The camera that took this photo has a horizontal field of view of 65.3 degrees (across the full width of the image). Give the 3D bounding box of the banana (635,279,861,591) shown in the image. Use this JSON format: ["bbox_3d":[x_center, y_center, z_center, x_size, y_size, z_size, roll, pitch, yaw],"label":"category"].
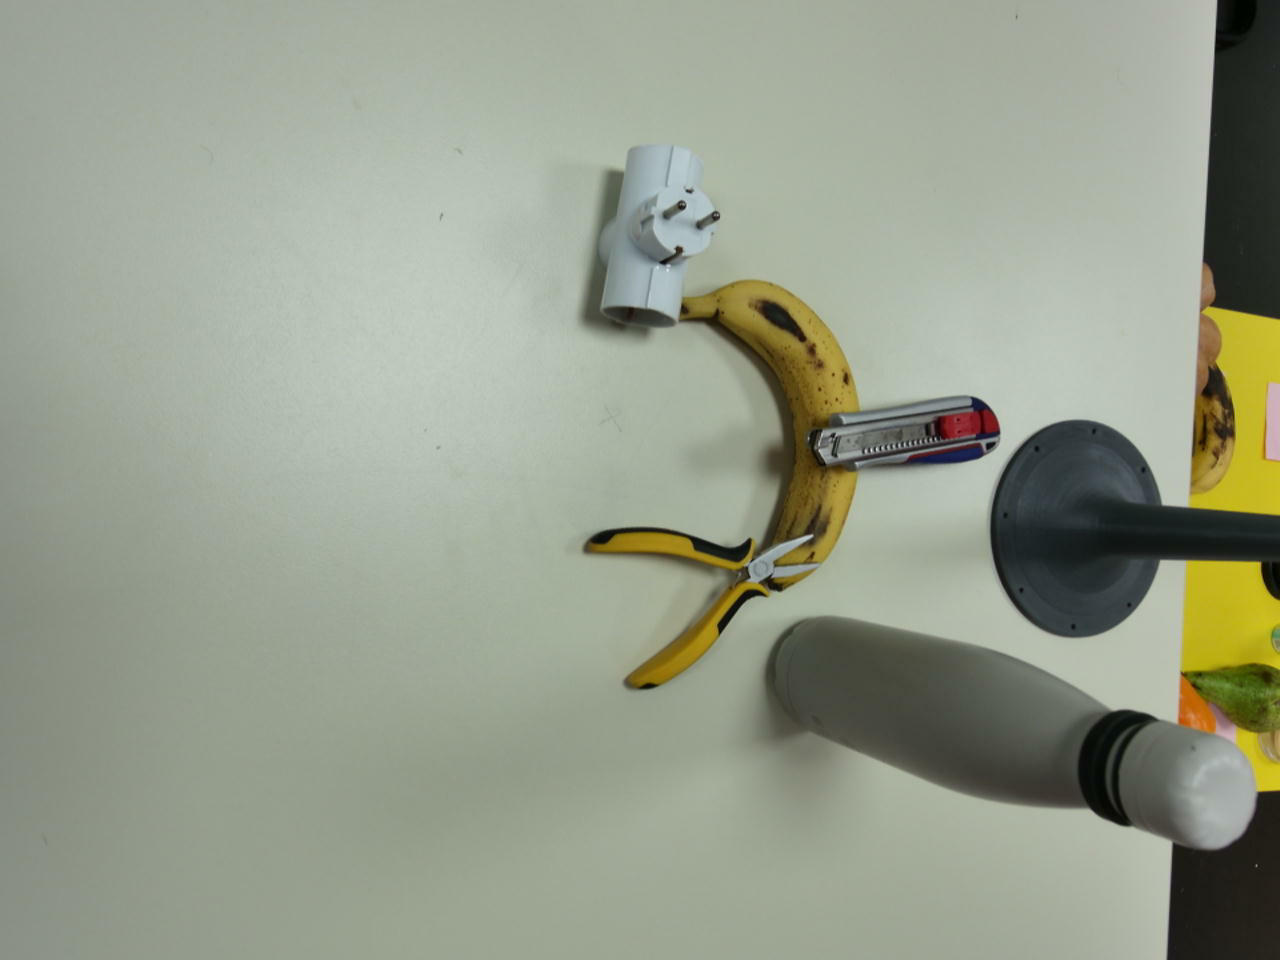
[{"bbox_3d":[0.084,-0.036,0.588,0.097,0.038,0.186,-25,99,-20],"label":"banana"}]
